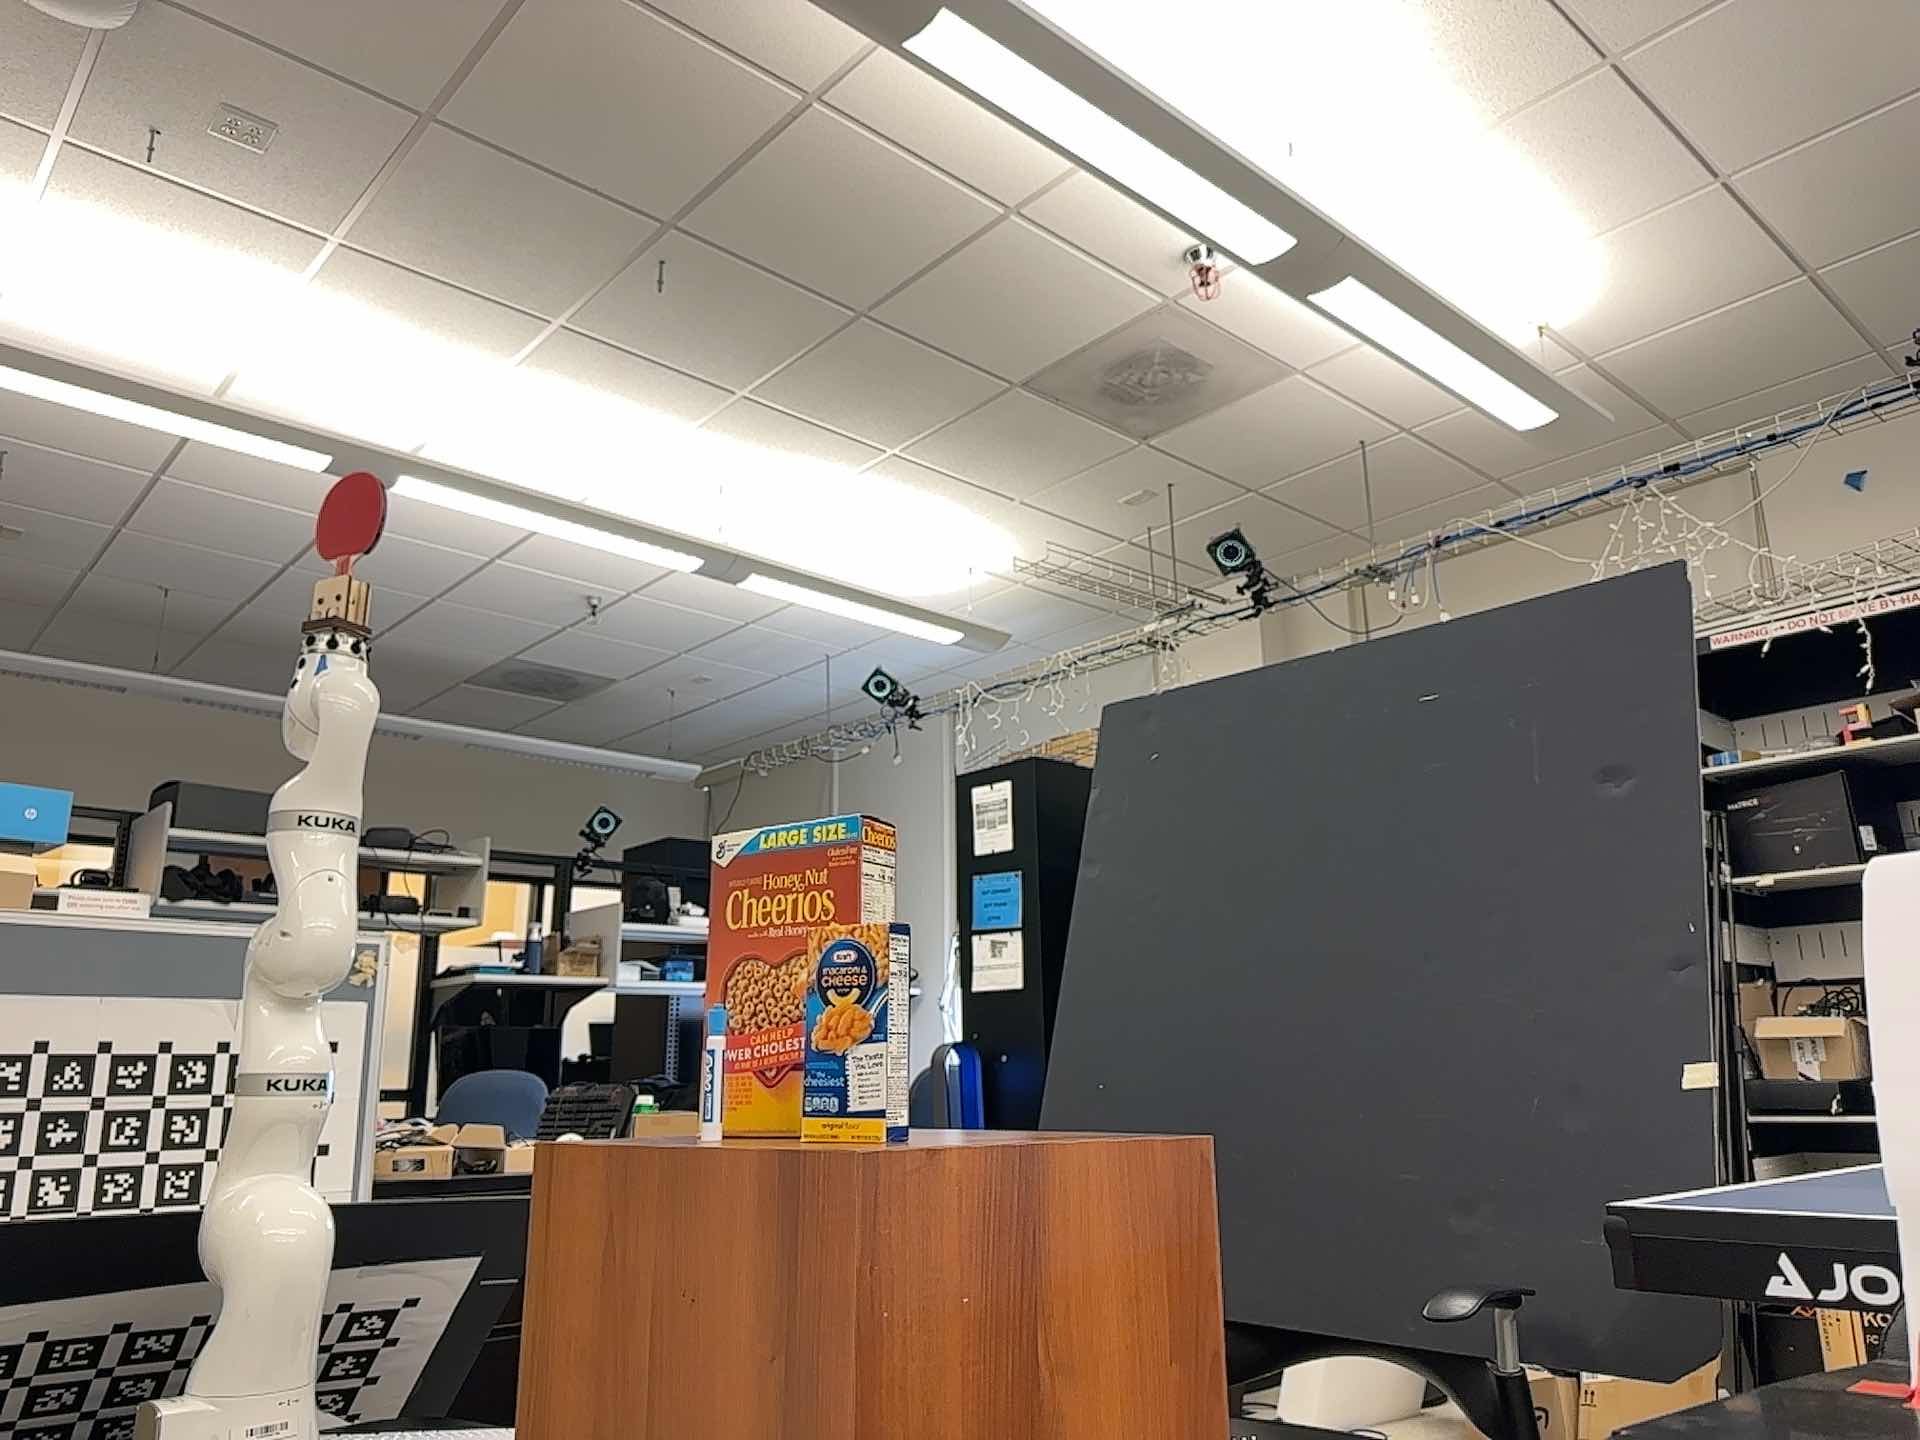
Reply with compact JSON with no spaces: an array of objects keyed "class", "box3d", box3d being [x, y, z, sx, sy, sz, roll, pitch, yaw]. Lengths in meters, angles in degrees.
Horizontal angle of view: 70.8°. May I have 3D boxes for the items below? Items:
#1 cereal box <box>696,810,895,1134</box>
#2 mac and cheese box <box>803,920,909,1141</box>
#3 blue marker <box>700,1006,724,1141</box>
[{"class":"cereal box","box3d":[-0.166,0.255,1.354,0.195,0.297,0.065,-11,-18,34]},{"class":"mac and cheese box","box3d":[-0.091,0.271,1.182,0.088,0.181,0.035,-14,-20,40]},{"class":"blue marker","box3d":[-0.232,0.328,1.258,0.020,0.121,0.020,-2,-14,0]}]
